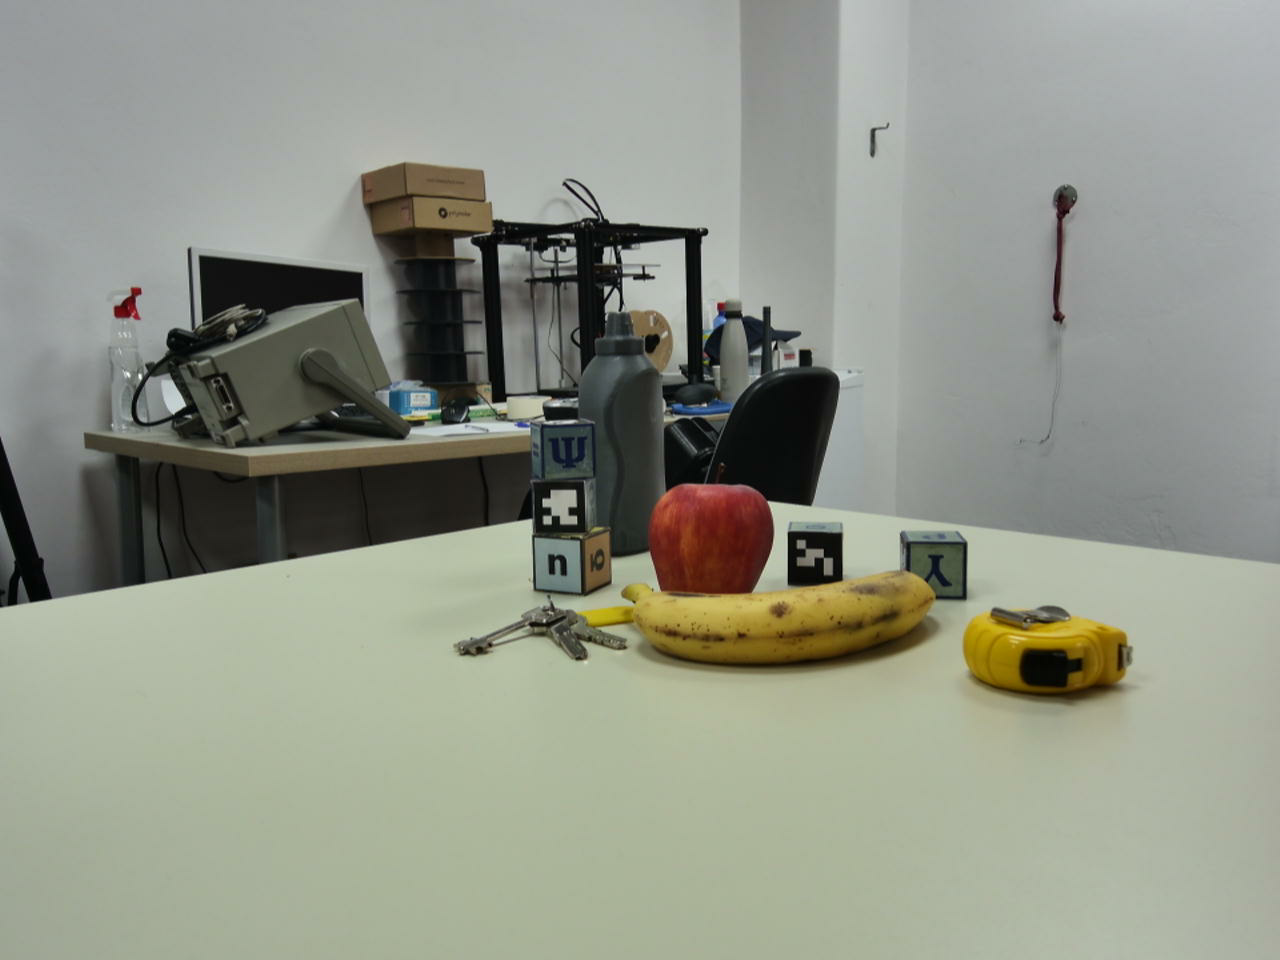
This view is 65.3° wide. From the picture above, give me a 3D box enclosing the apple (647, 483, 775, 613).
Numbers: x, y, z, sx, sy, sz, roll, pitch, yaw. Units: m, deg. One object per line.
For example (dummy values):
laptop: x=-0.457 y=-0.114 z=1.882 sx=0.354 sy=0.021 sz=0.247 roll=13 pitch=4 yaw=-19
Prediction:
apple: x=0.046 y=0.035 z=0.636 sx=0.083 sy=0.090 sz=0.083 roll=1 pitch=6 yaw=0
